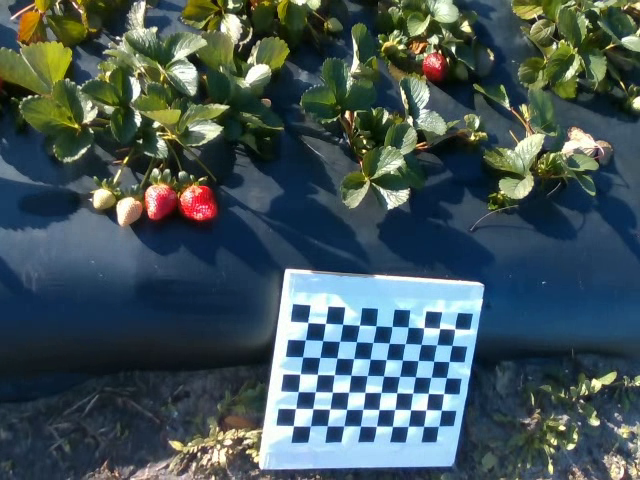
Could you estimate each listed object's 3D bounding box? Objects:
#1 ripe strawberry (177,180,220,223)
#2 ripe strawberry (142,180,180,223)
[{"bbox_3d":[-0.154,-0.045,0.807,0.067,0.056,0.052,42,-5,36],"label":"ripe strawberry"},{"bbox_3d":[-0.207,-0.048,0.797,0.050,0.061,0.043,30,-44,-20],"label":"ripe strawberry"}]
